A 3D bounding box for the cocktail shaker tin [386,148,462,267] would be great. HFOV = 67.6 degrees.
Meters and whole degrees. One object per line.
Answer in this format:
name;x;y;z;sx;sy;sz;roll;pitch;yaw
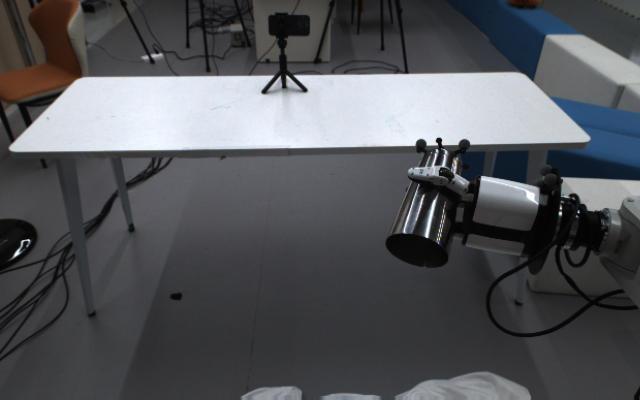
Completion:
cocktail shaker tin;0.165;0.003;0.730;0.093;0.093;0.170;14;57;16
